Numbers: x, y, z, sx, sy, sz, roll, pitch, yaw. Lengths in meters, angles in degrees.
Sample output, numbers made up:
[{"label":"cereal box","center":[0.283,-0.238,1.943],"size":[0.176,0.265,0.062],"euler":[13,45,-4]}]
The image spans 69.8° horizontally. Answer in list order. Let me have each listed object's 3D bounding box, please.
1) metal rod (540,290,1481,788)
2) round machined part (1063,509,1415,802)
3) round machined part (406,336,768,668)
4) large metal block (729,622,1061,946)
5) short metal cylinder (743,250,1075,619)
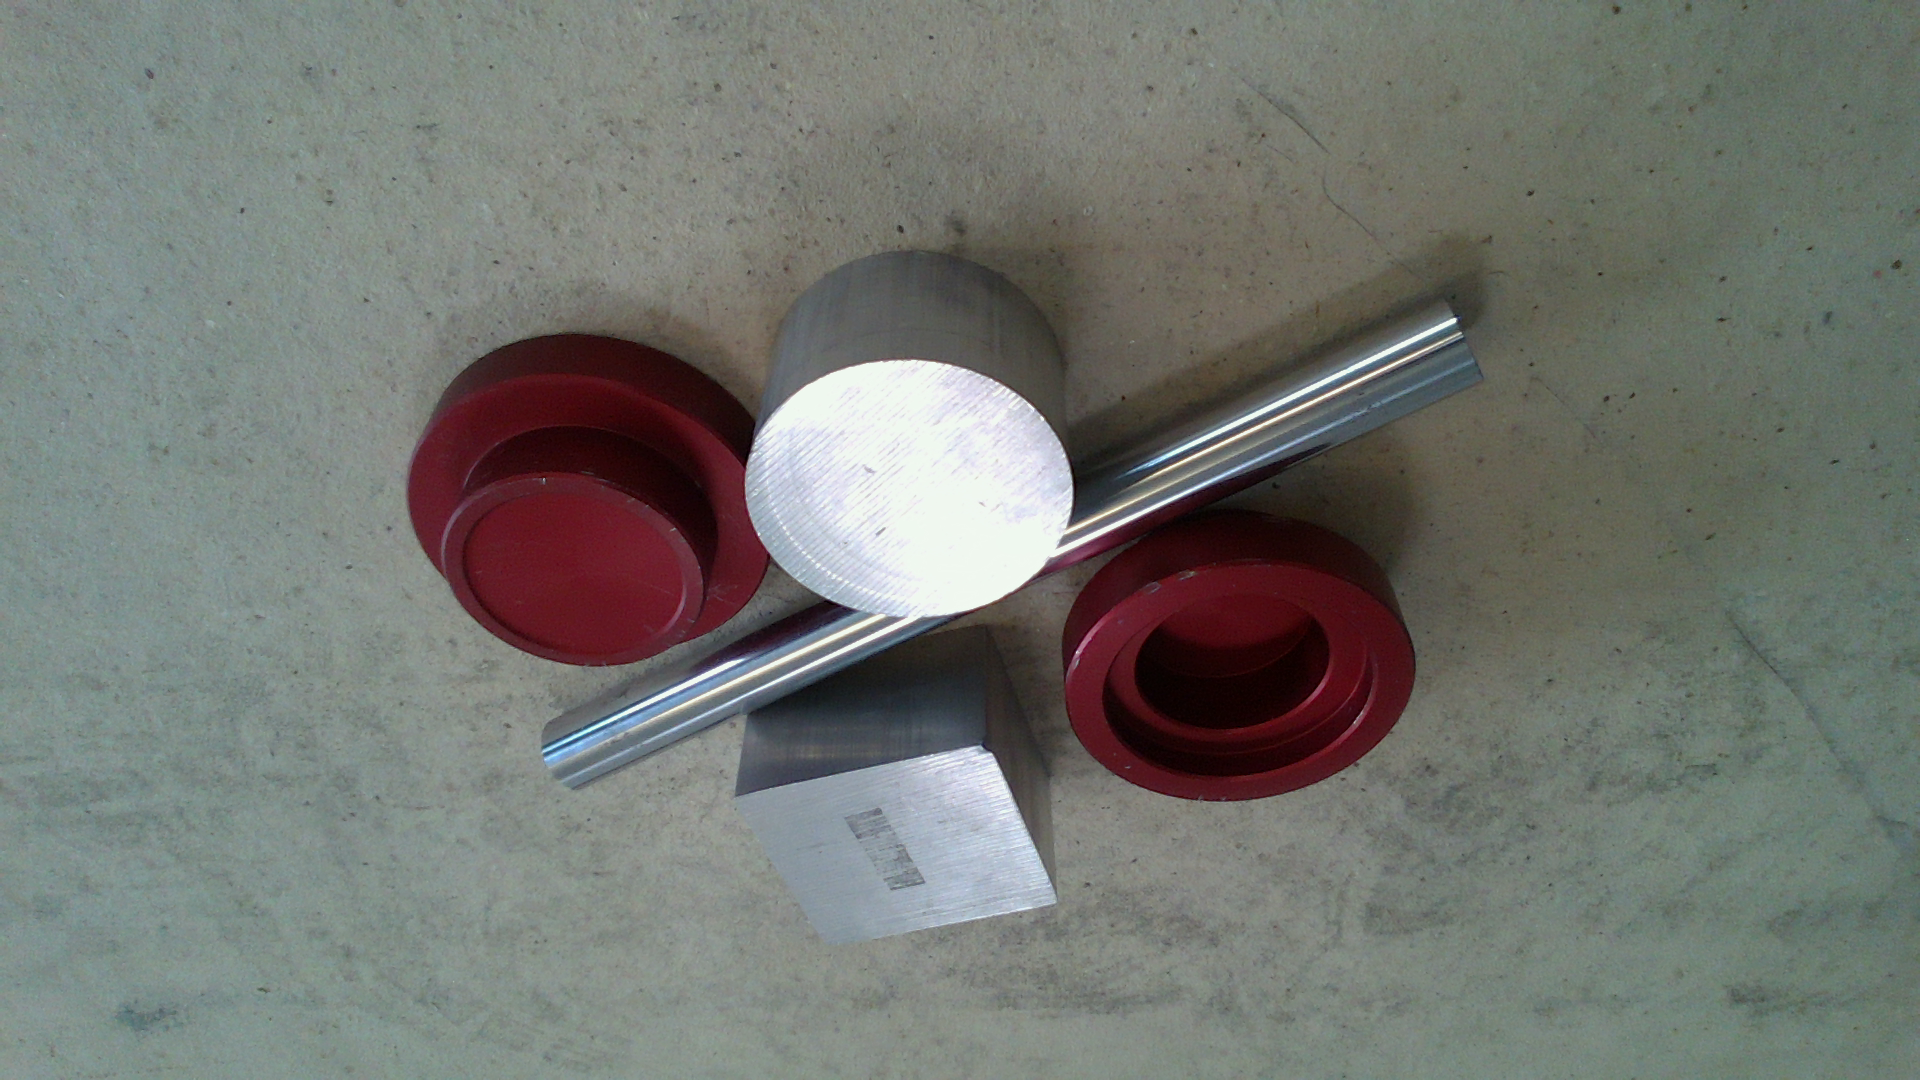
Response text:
[{"label":"metal rod","center":[0.000,0.008,0.399],"size":[0.299,0.025,0.025],"euler":[-25,126,20]},{"label":"round machined part","center":[0.079,0.030,0.405],"size":[0.098,0.042,0.098],"euler":[0,130,0]},{"label":"round machined part","center":[-0.101,-0.003,0.376],"size":[0.098,0.042,0.098],"euler":[0,130,0]},{"label":"large metal block","center":[-0.018,0.080,0.442],"size":[0.080,0.050,0.080],"euler":[-14,129,11]},{"label":"short metal cylinder","center":[-0.012,-0.026,0.351],"size":[0.080,0.050,0.080],"euler":[0,130,0]}]
